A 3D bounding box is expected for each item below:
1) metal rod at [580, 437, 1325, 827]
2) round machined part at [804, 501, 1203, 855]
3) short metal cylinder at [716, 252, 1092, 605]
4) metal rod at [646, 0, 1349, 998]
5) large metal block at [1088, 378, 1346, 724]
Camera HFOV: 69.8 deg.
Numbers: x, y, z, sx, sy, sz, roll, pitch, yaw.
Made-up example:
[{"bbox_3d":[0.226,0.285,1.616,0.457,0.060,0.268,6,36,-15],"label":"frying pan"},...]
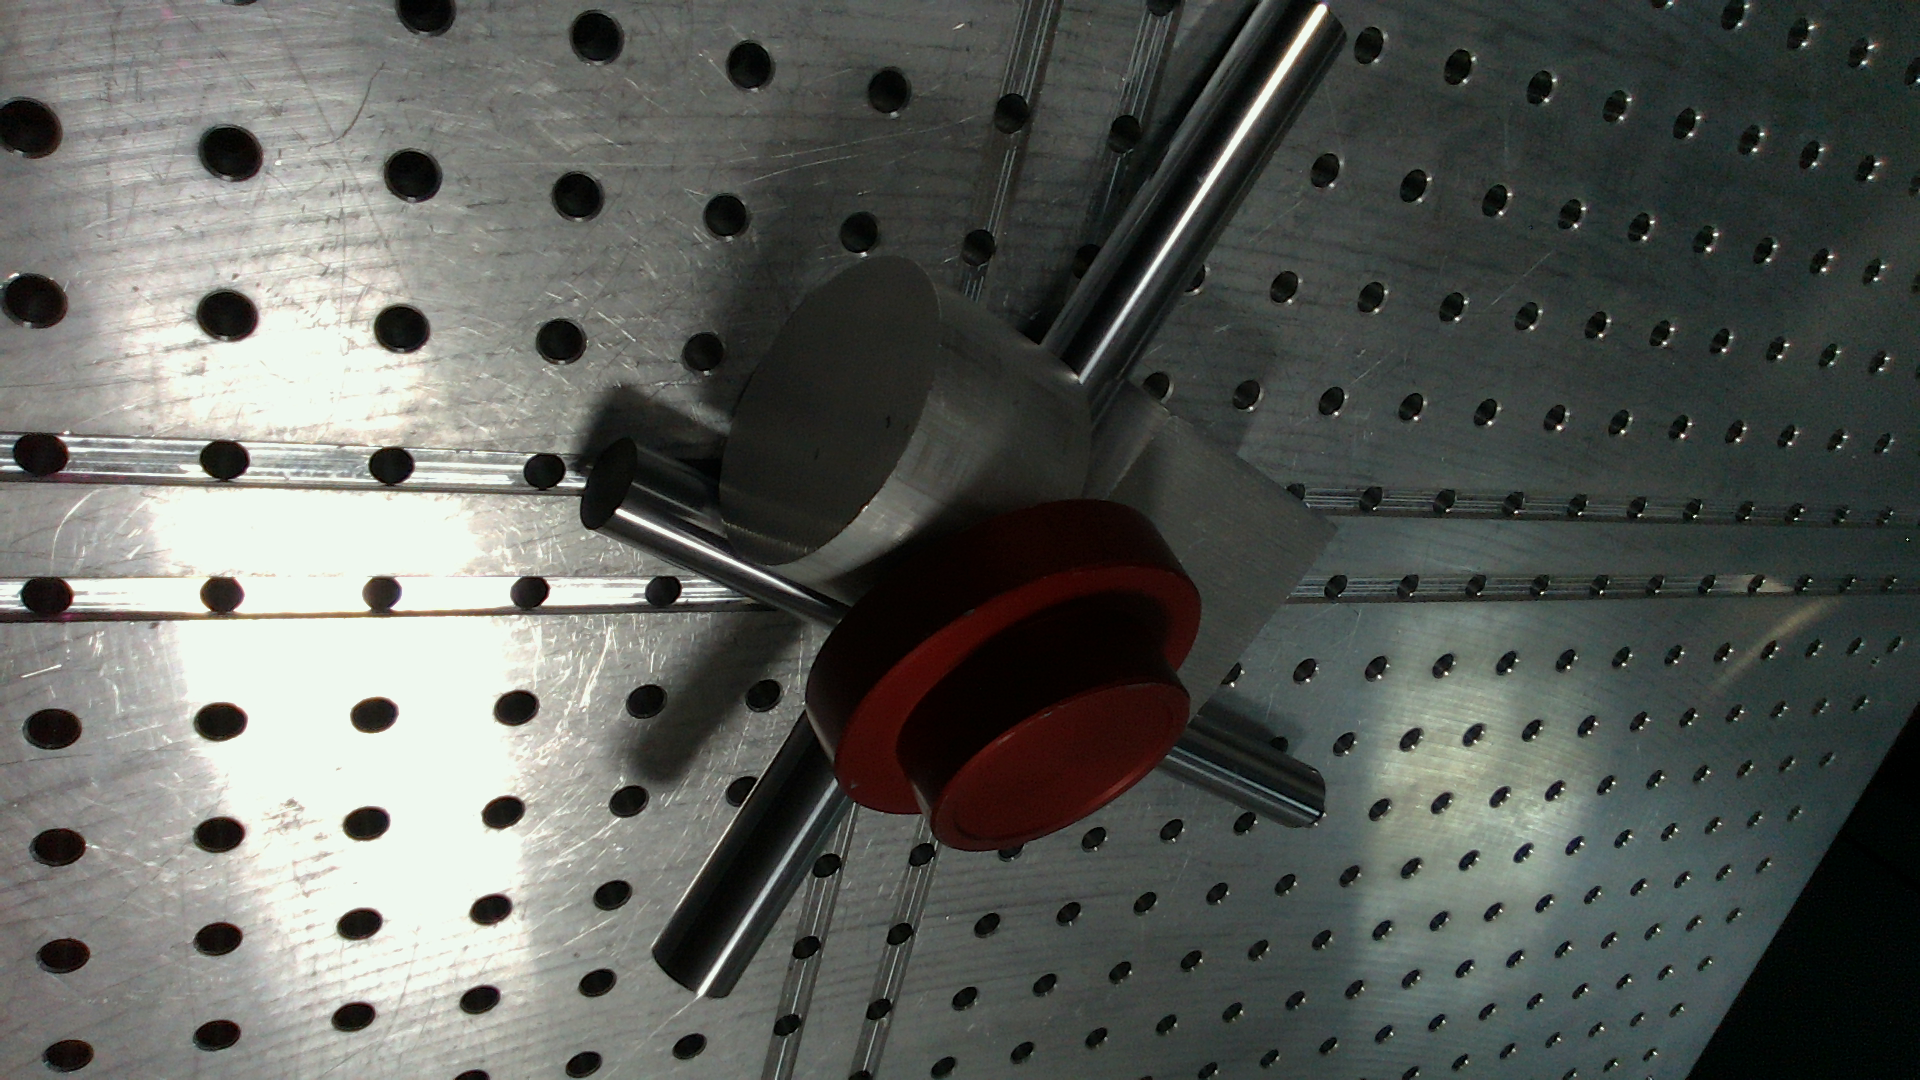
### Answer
[{"bbox_3d":[0.020,0.041,0.428,0.301,0.025,0.025,27,103,-37],"label":"metal rod"},{"bbox_3d":[0.016,0.039,0.329,0.098,0.042,0.098,-21,147,-14],"label":"round machined part"},{"bbox_3d":[-0.015,-0.022,0.334,0.050,0.080,0.080,28,103,-37],"label":"short metal cylinder"},{"bbox_3d":[0.008,-0.009,0.366,0.025,0.025,0.300,31,94,-38],"label":"metal rod"},{"bbox_3d":[0.050,0.002,0.400,0.080,0.050,0.080,28,103,-38],"label":"large metal block"}]
